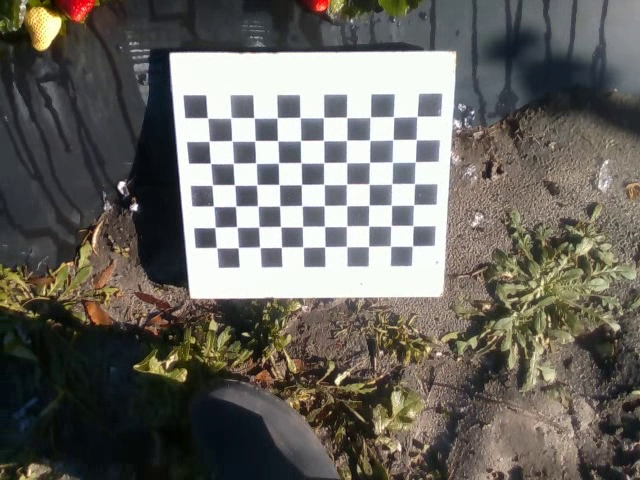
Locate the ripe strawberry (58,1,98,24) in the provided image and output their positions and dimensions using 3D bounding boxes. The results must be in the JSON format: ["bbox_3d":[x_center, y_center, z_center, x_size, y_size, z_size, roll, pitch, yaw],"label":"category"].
[{"bbox_3d":[-0.233,-0.223,0.683,0.042,0.061,0.046,-14,-22,5],"label":"ripe strawberry"}]
